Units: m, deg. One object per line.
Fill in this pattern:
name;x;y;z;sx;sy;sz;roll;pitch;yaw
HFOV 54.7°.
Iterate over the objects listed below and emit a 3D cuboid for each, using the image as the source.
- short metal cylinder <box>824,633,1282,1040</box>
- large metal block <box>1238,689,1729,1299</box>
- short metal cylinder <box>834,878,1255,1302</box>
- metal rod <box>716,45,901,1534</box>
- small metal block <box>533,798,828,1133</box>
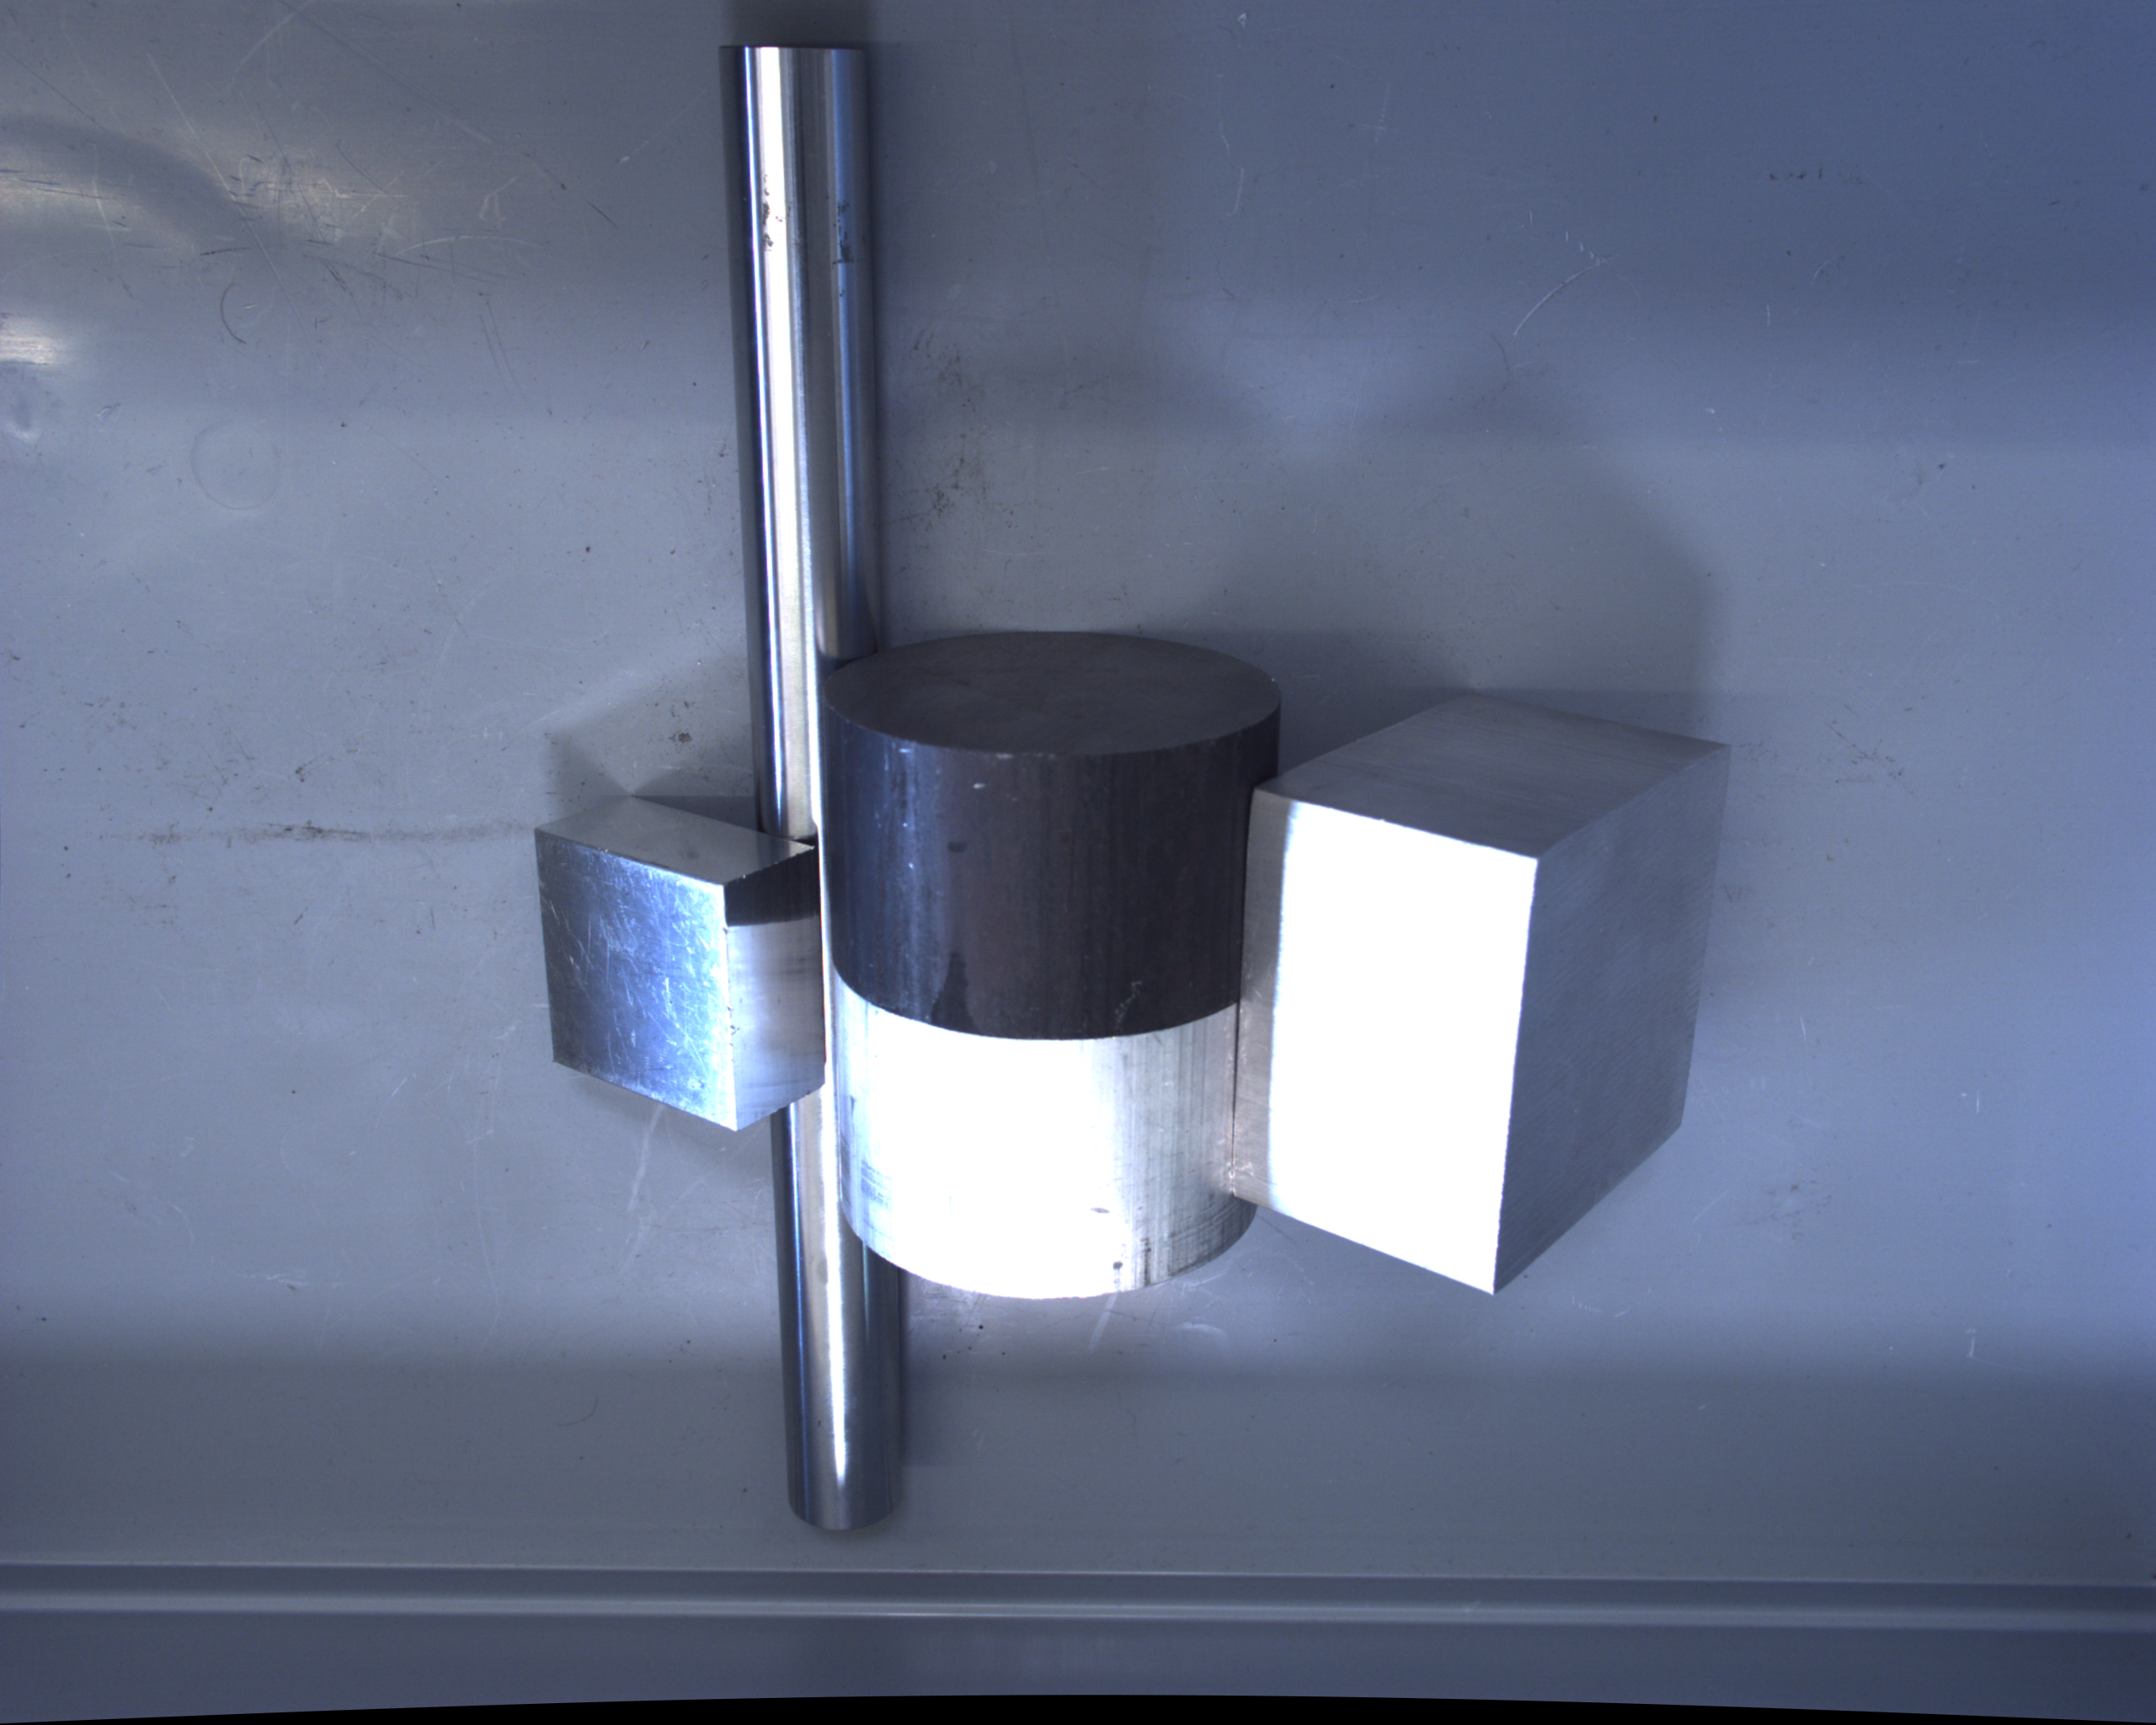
short metal cylinder;-0.005;-0.007;0.377;0.081;0.080;0.050;1;110;-1
large metal block;0.074;0.020;0.380;0.050;0.081;0.079;16;115;35
short metal cylinder;-0.005;0.040;0.394;0.081;0.080;0.050;1;110;-1
metal rod;-0.050;0.000;0.408;0.025;0.025;0.298;0;110;0
small metal block;-0.077;0.019;0.403;0.050;0.025;0.050;13;113;32
